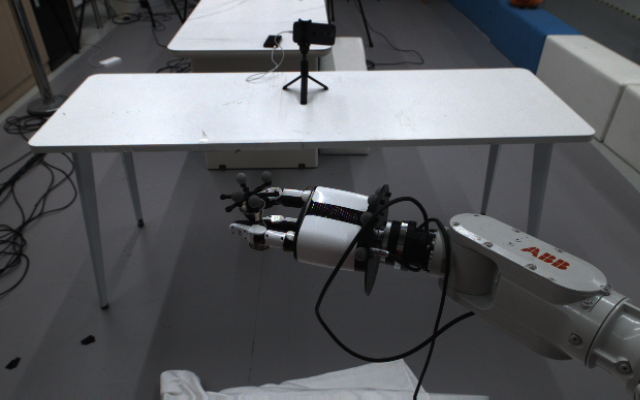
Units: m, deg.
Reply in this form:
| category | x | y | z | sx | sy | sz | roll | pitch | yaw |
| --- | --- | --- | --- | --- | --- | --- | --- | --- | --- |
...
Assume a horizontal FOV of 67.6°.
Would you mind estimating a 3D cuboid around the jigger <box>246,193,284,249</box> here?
| category | x | y | z | sx | sy | sz | roll | pitch | yaw |
| --- | --- | --- | --- | --- | --- | --- | --- | --- | --- |
| jigger | -0.091 | 0.035 | 0.725 | 0.043 | 0.071 | 0.043 | -9 | 31 | 5 |
